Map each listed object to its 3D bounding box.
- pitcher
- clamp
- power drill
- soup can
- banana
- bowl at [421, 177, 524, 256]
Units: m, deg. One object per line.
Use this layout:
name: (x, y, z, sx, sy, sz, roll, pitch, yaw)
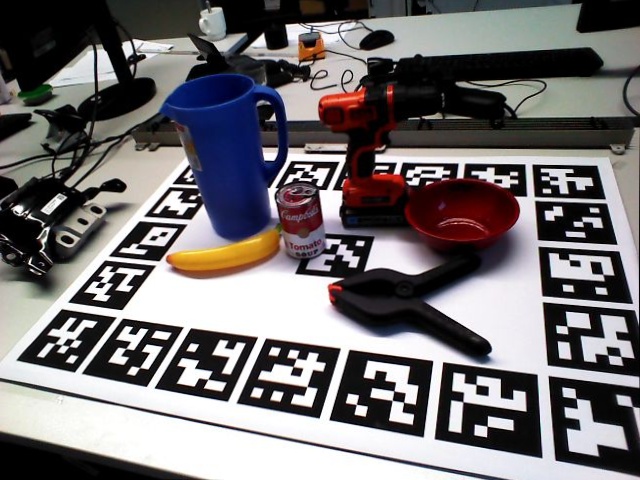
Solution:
pitcher: (-0.113, -0.127, 0.814, 0.189, 0.243, 0.133, -13, 34, -2)
clamp: (0.132, 0.071, 0.653, 0.204, 0.037, 0.164, 1, 43, 15)
power drill: (0.126, -0.133, 0.773, 0.185, 0.187, 0.057, 0, 39, 13)
soup can: (-0.002, -0.028, 0.775, 0.068, 0.102, 0.067, -6, 29, 3)
banana: (-0.128, 0.024, 0.796, 0.197, 0.039, 0.074, -12, 29, -4)
bowl: (0.229, -0.027, 0.749, 0.162, 0.055, 0.161, -8, 39, 6)
